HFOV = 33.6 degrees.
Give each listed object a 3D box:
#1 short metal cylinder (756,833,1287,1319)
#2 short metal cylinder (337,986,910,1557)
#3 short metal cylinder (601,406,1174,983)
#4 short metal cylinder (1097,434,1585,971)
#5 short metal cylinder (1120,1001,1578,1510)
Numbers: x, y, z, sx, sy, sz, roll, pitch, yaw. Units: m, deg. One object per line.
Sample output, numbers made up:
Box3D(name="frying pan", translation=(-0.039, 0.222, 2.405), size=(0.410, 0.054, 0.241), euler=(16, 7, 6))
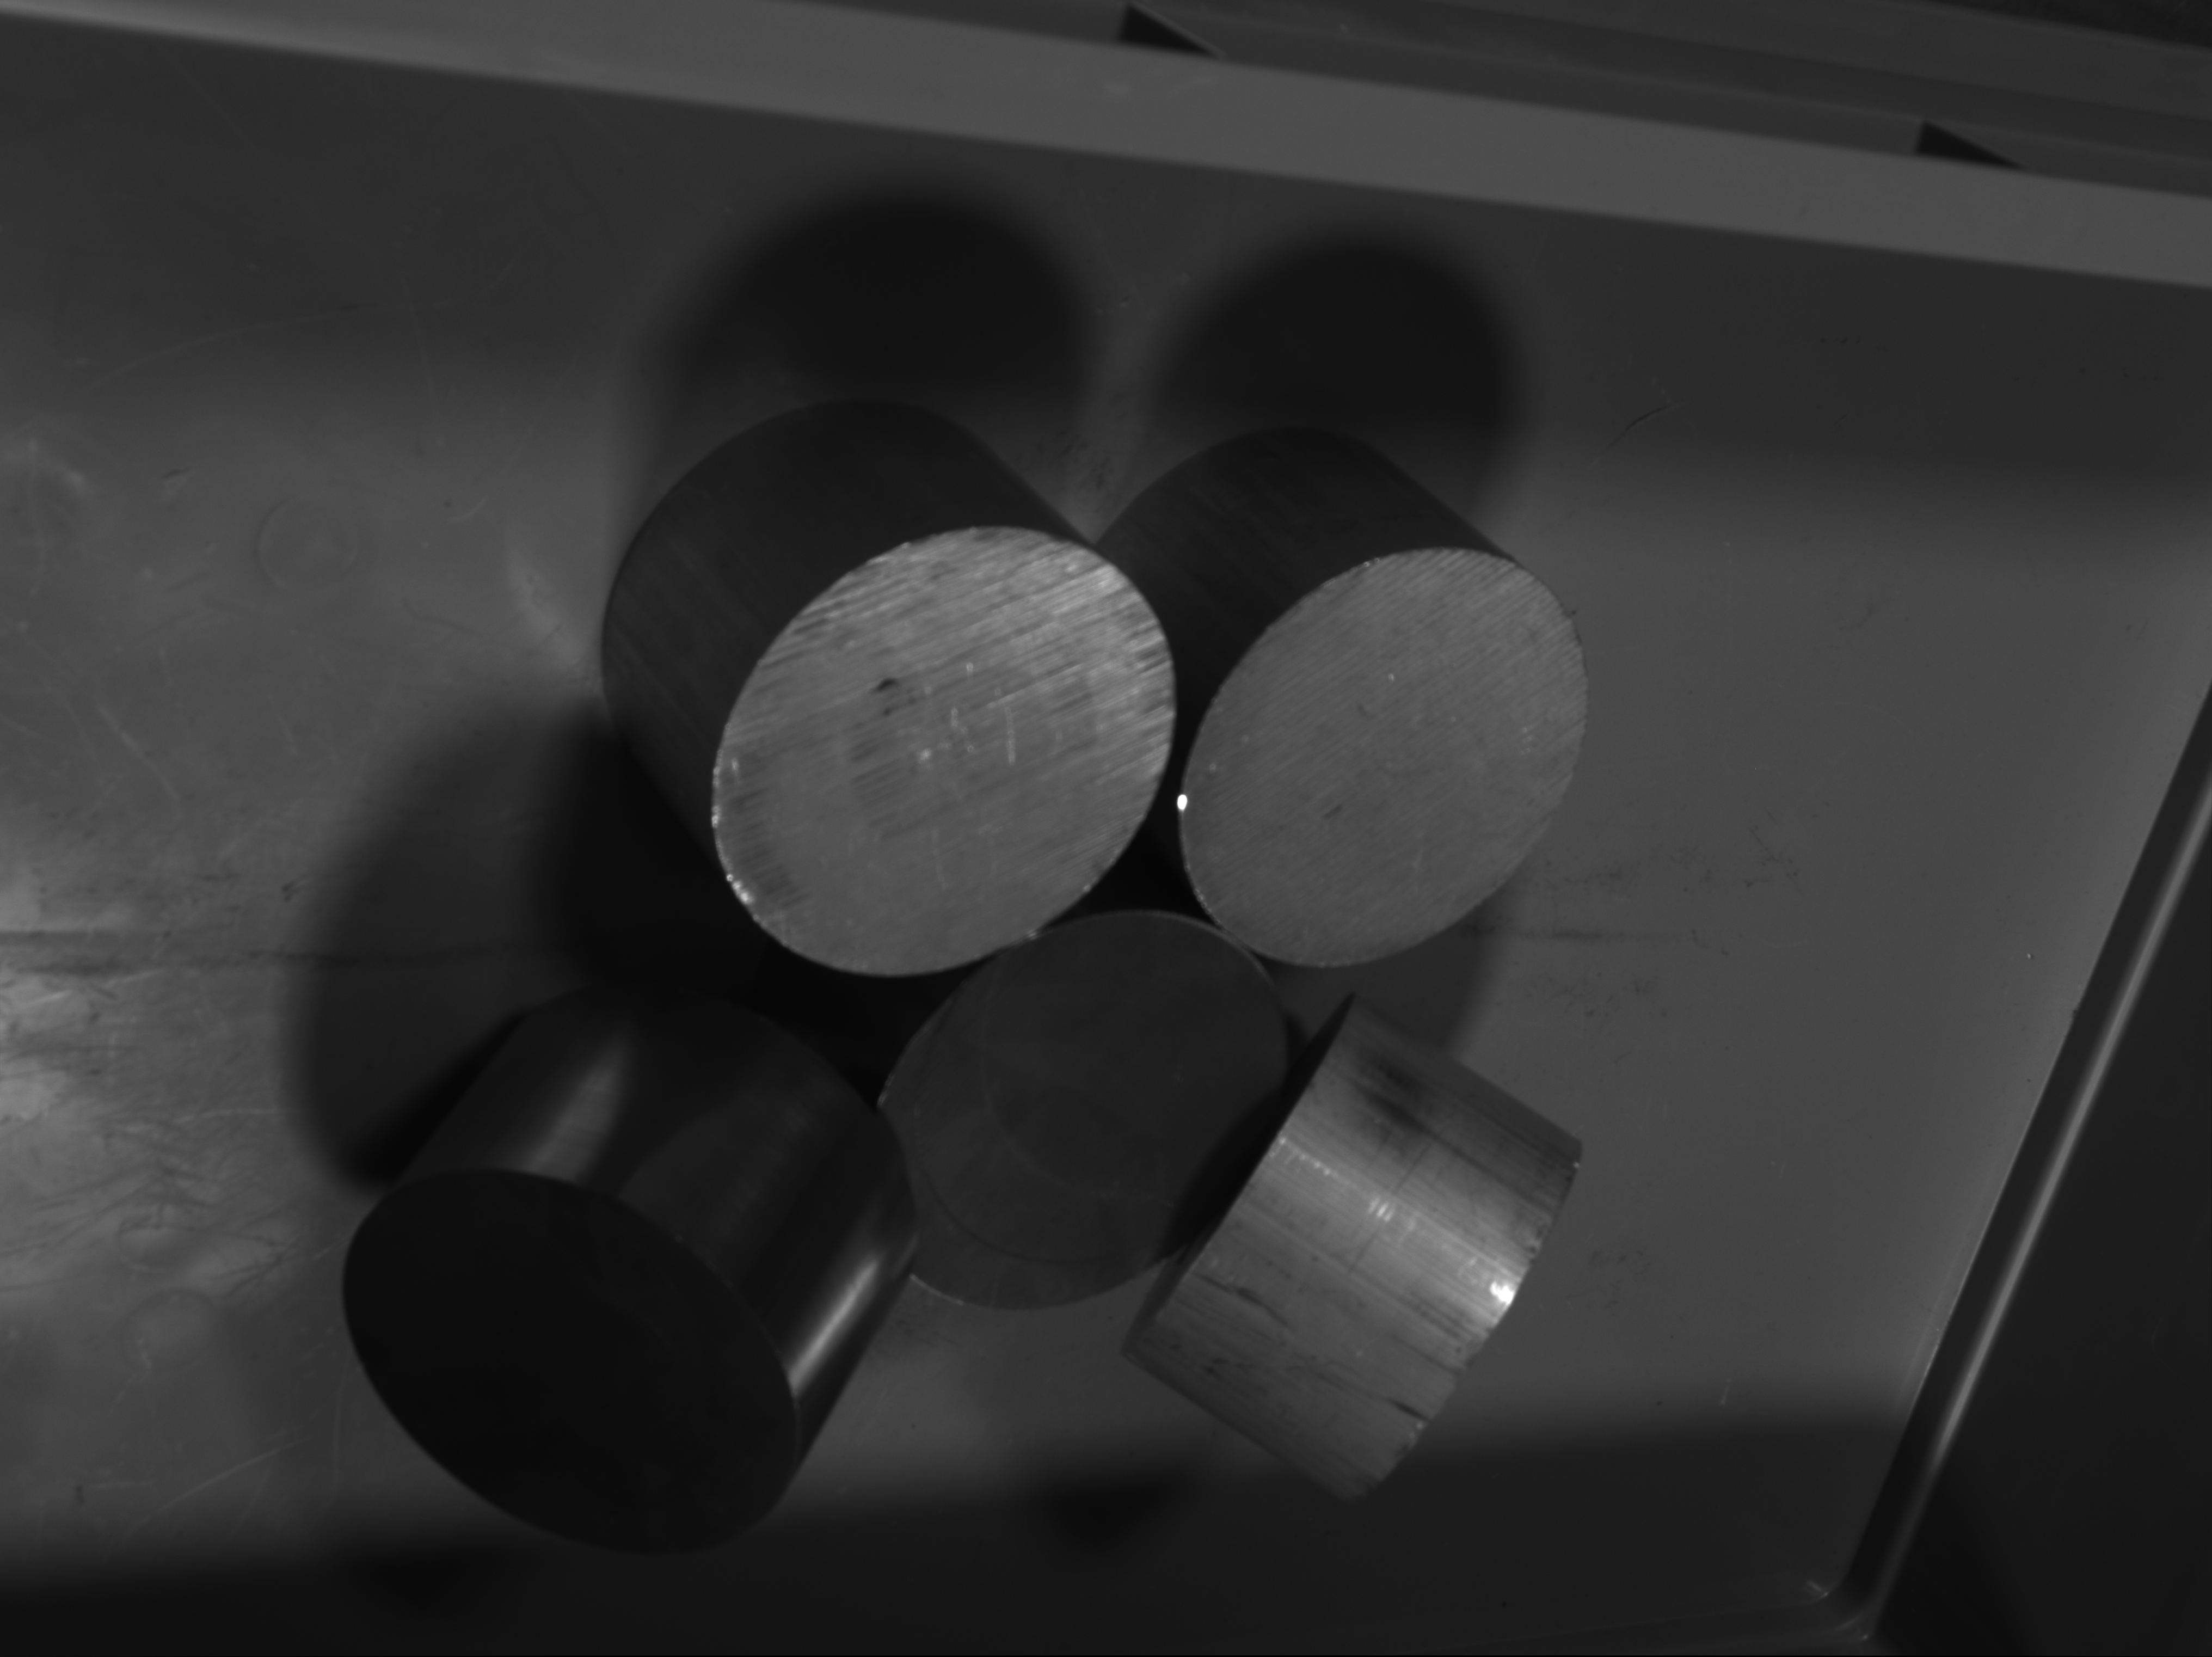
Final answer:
Box3D(name="short metal cylinder", translation=(-0.015, 0.039, 0.646), size=(0.080, 0.050, 0.080), euler=(-15, 125, -22))
Box3D(name="short metal cylinder", translation=(-0.079, 0.073, 0.605), size=(0.050, 0.080, 0.080), euler=(-58, 151, -51))
Box3D(name="short metal cylinder", translation=(-0.036, -0.022, 0.597), size=(0.080, 0.050, 0.080), euler=(-15, 125, -22))
Box3D(name="short metal cylinder", translation=(0.036, -0.022, 0.641), size=(0.080, 0.050, 0.080), euler=(-15, 125, -22))
Box3D(name="short metal cylinder", translation=(0.044, 0.079, 0.680), size=(0.050, 0.080, 0.080), euler=(33, 102, 1))
